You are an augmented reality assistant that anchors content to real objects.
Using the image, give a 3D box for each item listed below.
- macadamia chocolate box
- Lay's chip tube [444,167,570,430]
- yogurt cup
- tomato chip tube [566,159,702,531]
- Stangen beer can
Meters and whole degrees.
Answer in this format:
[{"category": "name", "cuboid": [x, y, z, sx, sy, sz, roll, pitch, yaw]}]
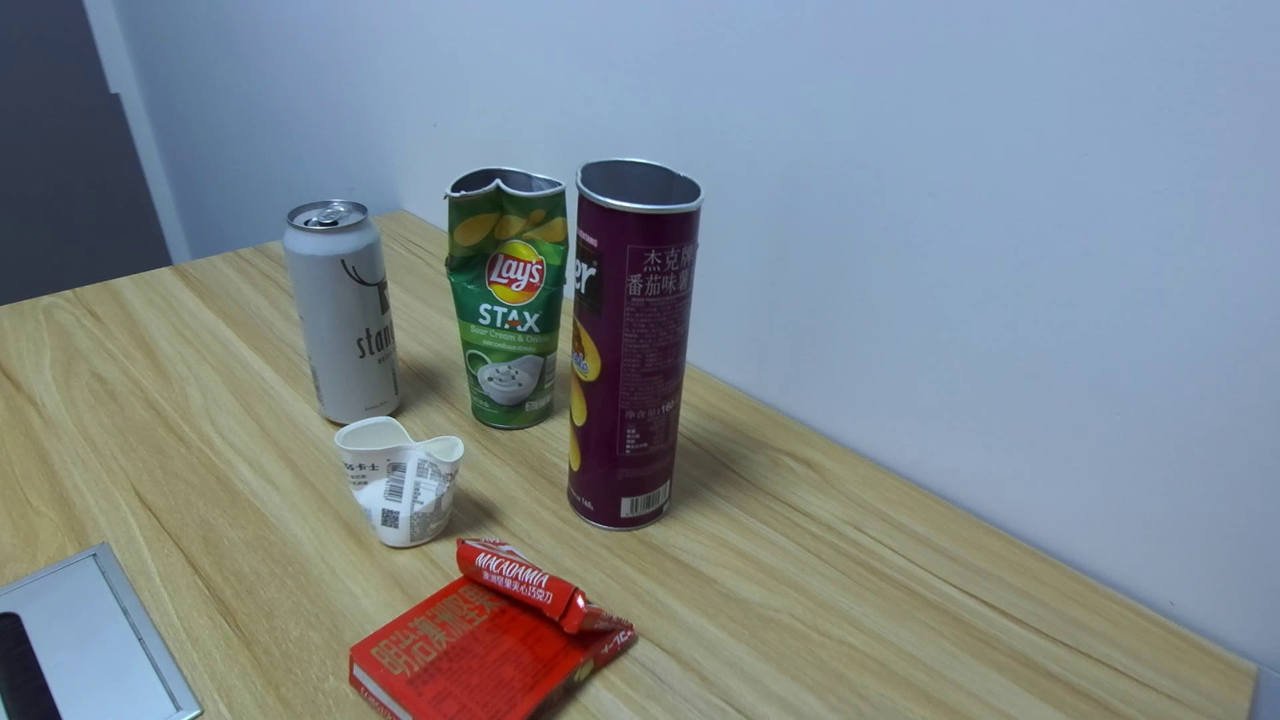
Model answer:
[{"category": "macadamia chocolate box", "cuboid": [-0.085, 0.153, 0.393, 0.111, 0.056, 0.127, 10, 32, 37]}, {"category": "Lay's chip tube", "cuboid": [-0.101, -0.044, 0.547, 0.077, 0.201, 0.069, -16, 36, -25]}, {"category": "yogurt cup", "cuboid": [-0.154, 0.079, 0.463, 0.075, 0.071, 0.053, -7, 35, -16]}, {"category": "tomato chip tube", "cuboid": [-0.006, 0.000, 0.449, 0.076, 0.234, 0.080, 9, 33, 9]}, {"category": "Stangen beer can", "cuboid": [-0.226, -0.031, 0.543, 0.067, 0.171, 0.067, 3, 31, -1]}]
